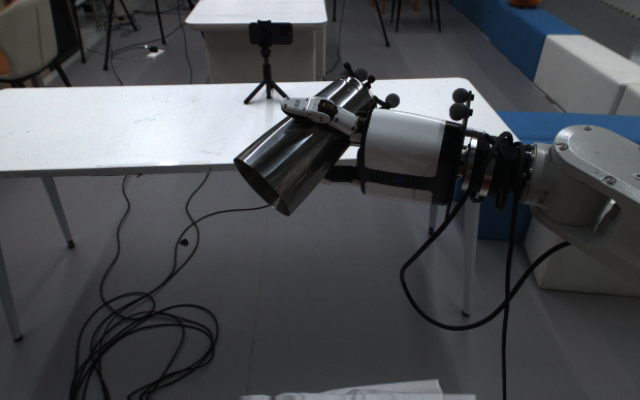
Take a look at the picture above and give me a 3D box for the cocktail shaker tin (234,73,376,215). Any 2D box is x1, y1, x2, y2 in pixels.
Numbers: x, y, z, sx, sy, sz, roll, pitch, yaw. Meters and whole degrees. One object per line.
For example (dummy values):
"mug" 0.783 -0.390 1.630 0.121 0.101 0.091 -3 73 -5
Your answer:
"cocktail shaker tin" -0.010 -0.076 0.584 0.170 0.093 0.093 -43 50 -14
